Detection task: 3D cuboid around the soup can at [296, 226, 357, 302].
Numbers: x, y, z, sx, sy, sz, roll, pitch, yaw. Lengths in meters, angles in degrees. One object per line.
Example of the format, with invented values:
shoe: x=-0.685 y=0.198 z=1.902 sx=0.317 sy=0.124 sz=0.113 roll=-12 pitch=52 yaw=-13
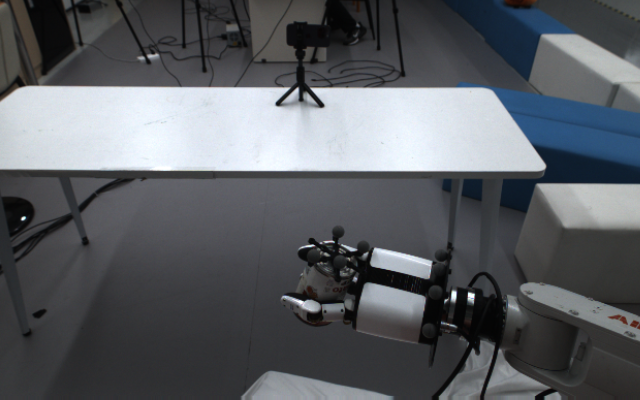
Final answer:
soup can: x=0.006 y=0.119 z=0.670 sx=0.067 sy=0.101 sz=0.067 roll=14 pitch=35 yaw=-10
